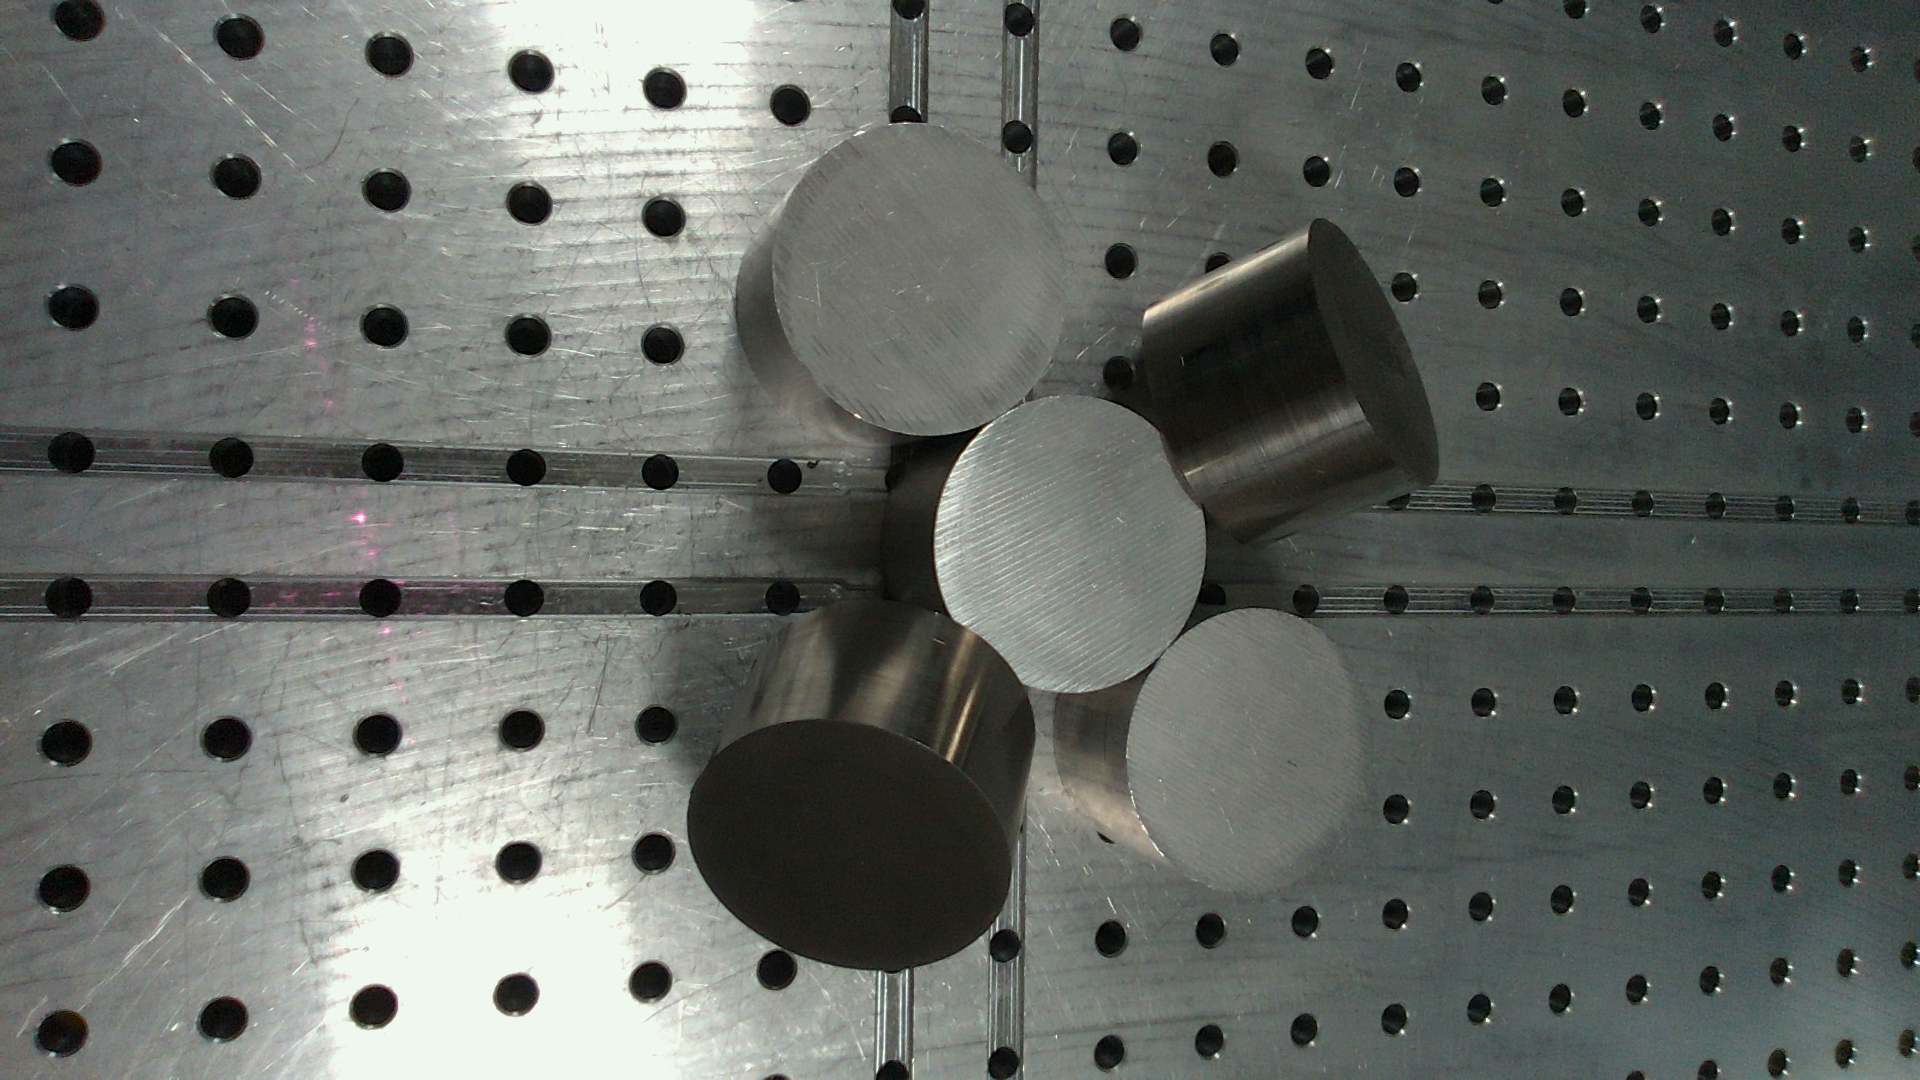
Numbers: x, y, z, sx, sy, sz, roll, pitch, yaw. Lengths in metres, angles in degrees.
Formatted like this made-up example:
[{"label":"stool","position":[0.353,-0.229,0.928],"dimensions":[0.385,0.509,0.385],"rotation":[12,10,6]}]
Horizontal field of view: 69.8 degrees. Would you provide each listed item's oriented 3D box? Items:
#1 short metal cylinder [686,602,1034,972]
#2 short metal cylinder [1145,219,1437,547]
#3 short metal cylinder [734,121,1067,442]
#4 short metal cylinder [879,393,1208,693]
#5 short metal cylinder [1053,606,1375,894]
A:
[{"label":"short metal cylinder","position":[-0.023,0.063,0.352],"dimensions":[0.080,0.050,0.080],"rotation":[4,121,8]},{"label":"short metal cylinder","position":[0.096,-0.044,0.396],"dimensions":[0.080,0.050,0.080],"rotation":[35,43,-41]},{"label":"short metal cylinder","position":[-0.017,-0.067,0.376],"dimensions":[0.080,0.050,0.080],"rotation":[0,90,-20]},{"label":"short metal cylinder","position":[0.023,0.001,0.391],"dimensions":[0.080,0.050,0.080],"rotation":[0,90,-20]},{"label":"short metal cylinder","position":[0.075,0.059,0.410],"dimensions":[0.080,0.050,0.080],"rotation":[0,90,-20]}]
